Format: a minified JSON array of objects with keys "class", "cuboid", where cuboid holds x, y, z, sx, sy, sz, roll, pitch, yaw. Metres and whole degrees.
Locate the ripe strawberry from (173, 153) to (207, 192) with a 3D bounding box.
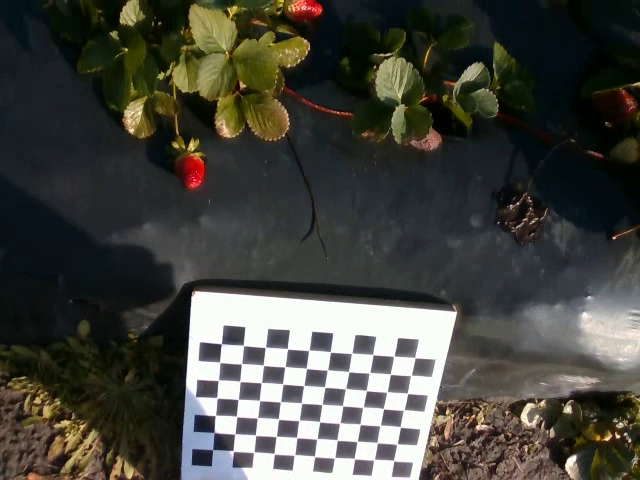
[{"class":"ripe strawberry","cuboid":[-0.108,-0.059,0.578,0.028,0.041,0.031,-18,-34,5]}]
